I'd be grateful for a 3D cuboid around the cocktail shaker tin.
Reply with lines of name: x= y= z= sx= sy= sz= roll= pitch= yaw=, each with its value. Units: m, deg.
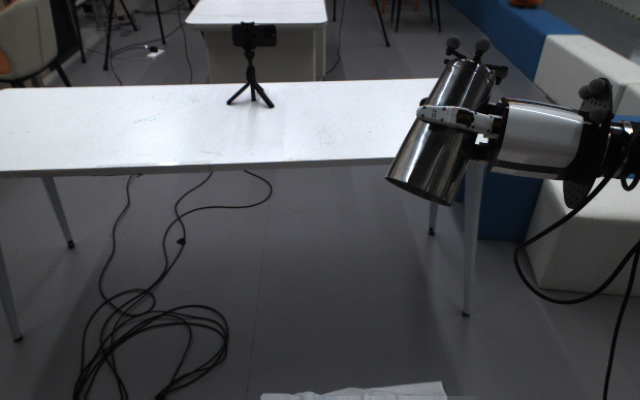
cocktail shaker tin: x=0.162 y=-0.090 z=0.619 sx=0.093 sy=0.170 sz=0.093 roll=23 pitch=-1 yaw=0
